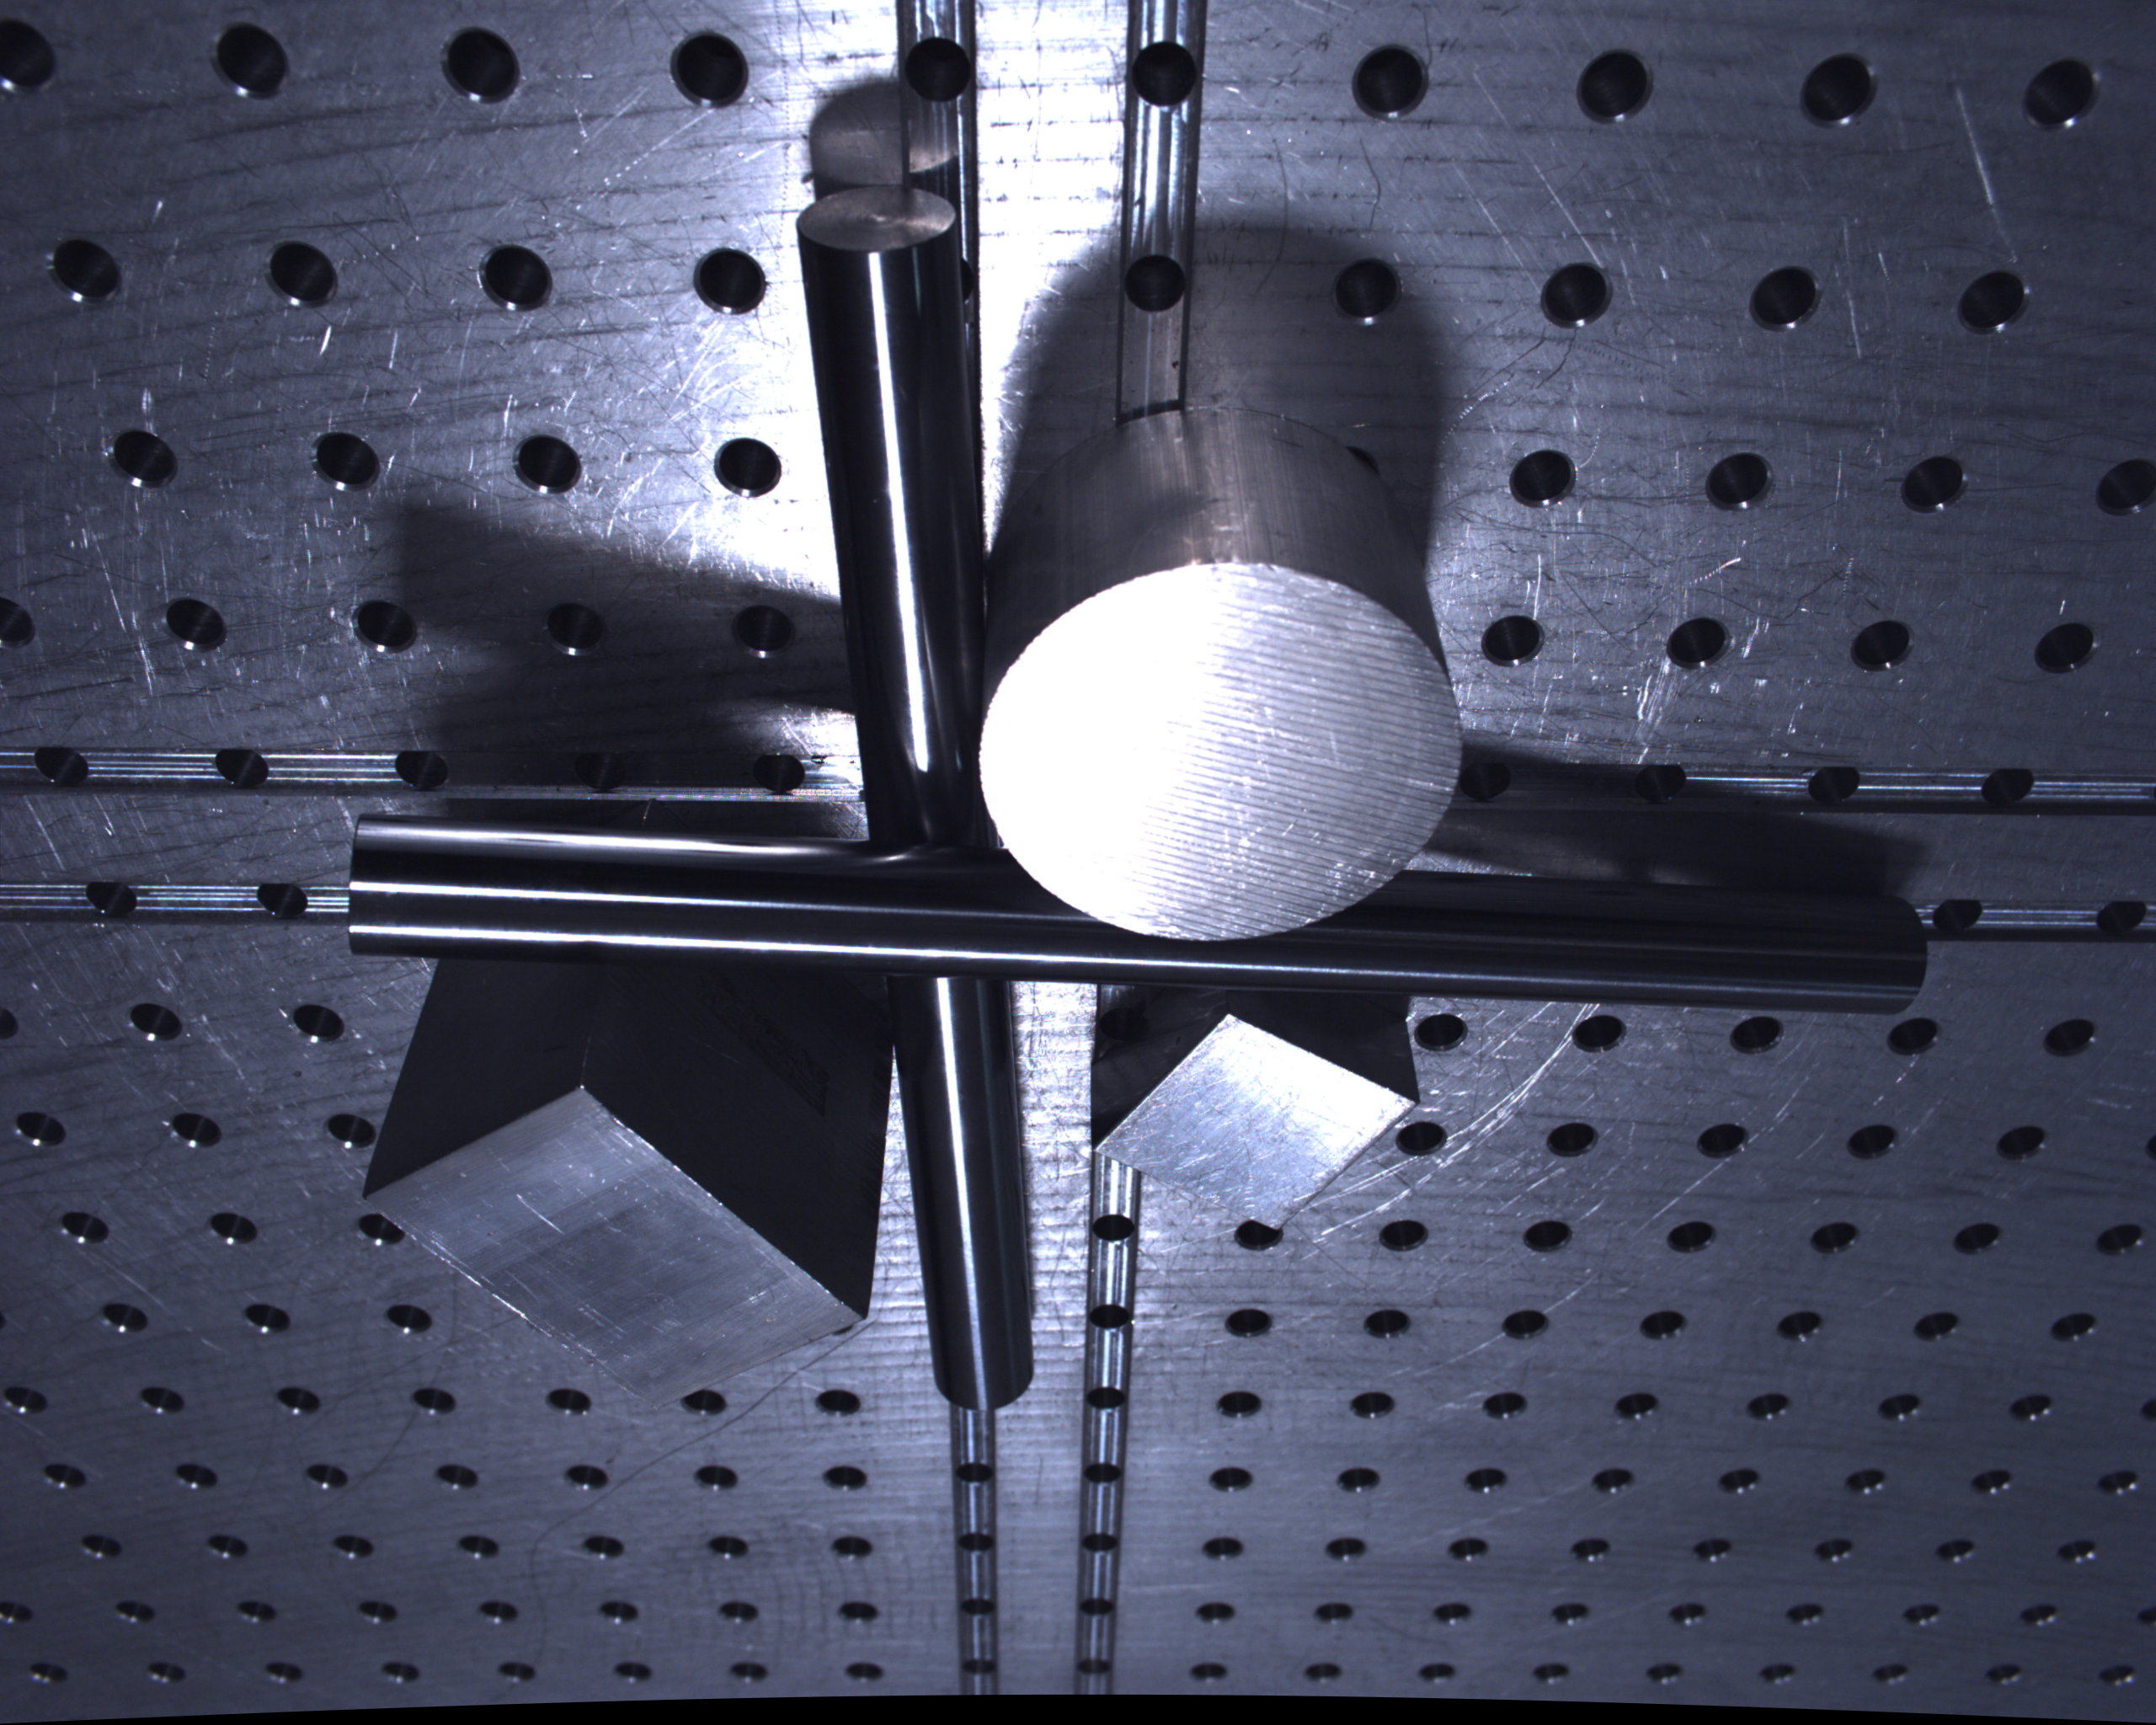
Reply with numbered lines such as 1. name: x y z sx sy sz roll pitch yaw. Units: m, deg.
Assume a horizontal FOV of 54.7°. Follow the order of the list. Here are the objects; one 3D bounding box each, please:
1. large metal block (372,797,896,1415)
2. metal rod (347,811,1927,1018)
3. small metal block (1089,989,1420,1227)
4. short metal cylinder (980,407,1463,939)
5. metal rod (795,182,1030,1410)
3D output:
1. large metal block: -0.082 0.048 0.414 0.050 0.080 0.080 -28 125 21
2. metal rod: 0.021 0.012 0.397 0.302 0.025 0.025 3 131 -13
3. small metal block: 0.037 0.047 0.454 0.050 0.025 0.050 26 125 -21
4. short metal cylinder: 0.024 -0.033 0.368 0.081 0.050 0.079 0 130 0
5. metal rod: -0.028 0.012 0.422 0.025 0.025 0.298 -1 130 1
